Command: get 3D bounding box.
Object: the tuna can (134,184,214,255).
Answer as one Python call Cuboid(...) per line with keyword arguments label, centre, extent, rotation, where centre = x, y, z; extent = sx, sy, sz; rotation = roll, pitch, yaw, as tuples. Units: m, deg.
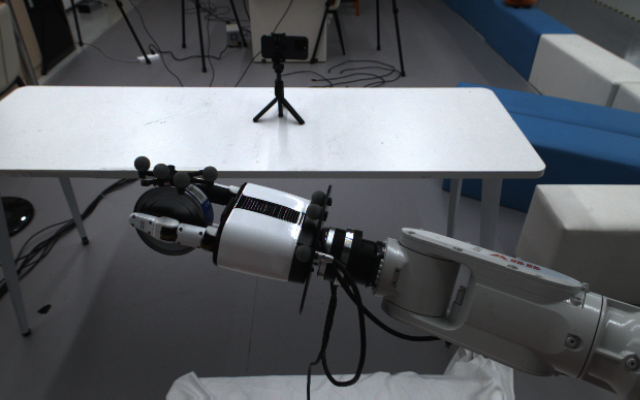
Cuboid(label="tuna can", centre=(-0.169, 0.020, 0.567), extent=(0.085, 0.085, 0.034), rotation=(5, 17, 5))
